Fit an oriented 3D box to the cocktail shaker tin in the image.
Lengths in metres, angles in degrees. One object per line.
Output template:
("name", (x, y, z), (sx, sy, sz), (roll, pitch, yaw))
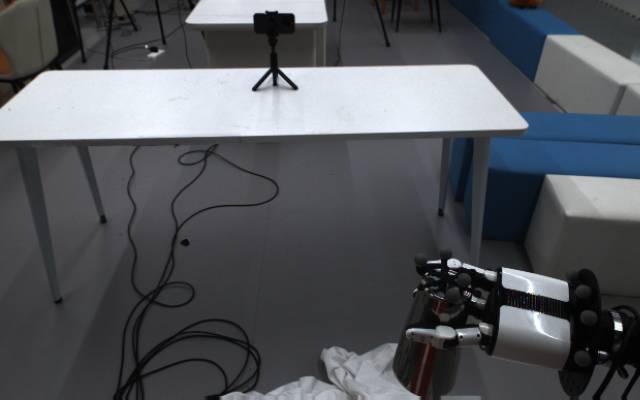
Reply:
("cocktail shaker tin", (0.159, 0.175, 0.666), (0.093, 0.170, 0.093), (3, 33, -2))
